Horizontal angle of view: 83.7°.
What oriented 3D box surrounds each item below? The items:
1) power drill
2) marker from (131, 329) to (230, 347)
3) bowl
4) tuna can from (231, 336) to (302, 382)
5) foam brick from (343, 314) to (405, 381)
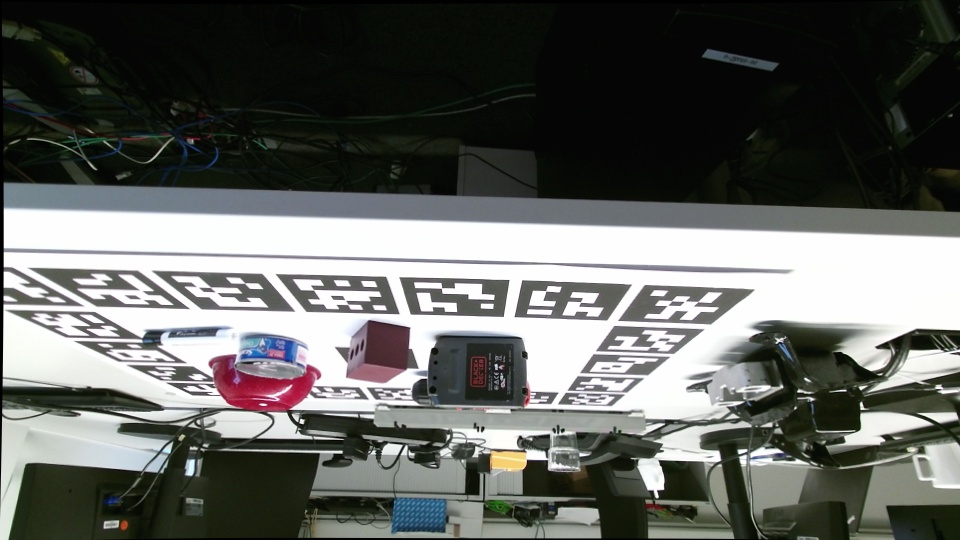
[{"bbox_3d":[-0.012,0.151,0.719,0.185,0.057,0.187,4,155,3],"label":"power drill"},{"bbox_3d":[-0.357,0.081,0.633,0.121,0.019,0.020,-3,151,9],"label":"marker"},{"bbox_3d":[-0.323,0.172,0.792,0.162,0.055,0.162,-1,159,0],"label":"bowl"},{"bbox_3d":[-0.272,0.113,0.677,0.086,0.033,0.086,3,152,2],"label":"tuna can"},{"bbox_3d":[-0.126,0.091,0.621,0.051,0.052,0.078,15,149,-20],"label":"foam brick"}]
